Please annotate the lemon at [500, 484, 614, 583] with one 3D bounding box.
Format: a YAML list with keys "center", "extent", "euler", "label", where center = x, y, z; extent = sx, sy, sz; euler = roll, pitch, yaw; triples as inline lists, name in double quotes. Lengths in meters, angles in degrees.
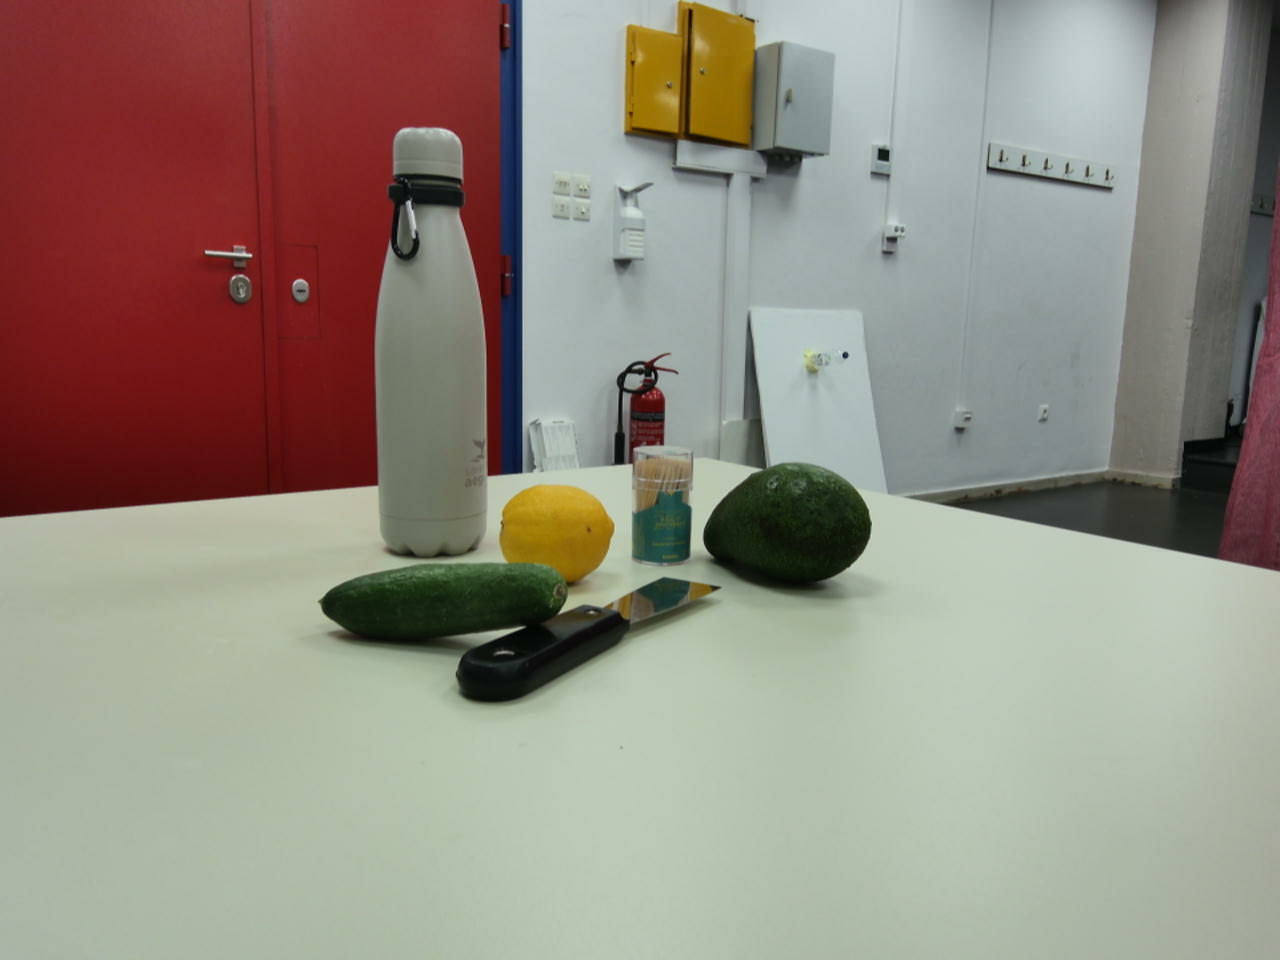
- center: [-0.051, 0.032, 0.600]
  extent: [0.067, 0.059, 0.061]
  euler: [2, 8, 6]
  label: "lemon"
